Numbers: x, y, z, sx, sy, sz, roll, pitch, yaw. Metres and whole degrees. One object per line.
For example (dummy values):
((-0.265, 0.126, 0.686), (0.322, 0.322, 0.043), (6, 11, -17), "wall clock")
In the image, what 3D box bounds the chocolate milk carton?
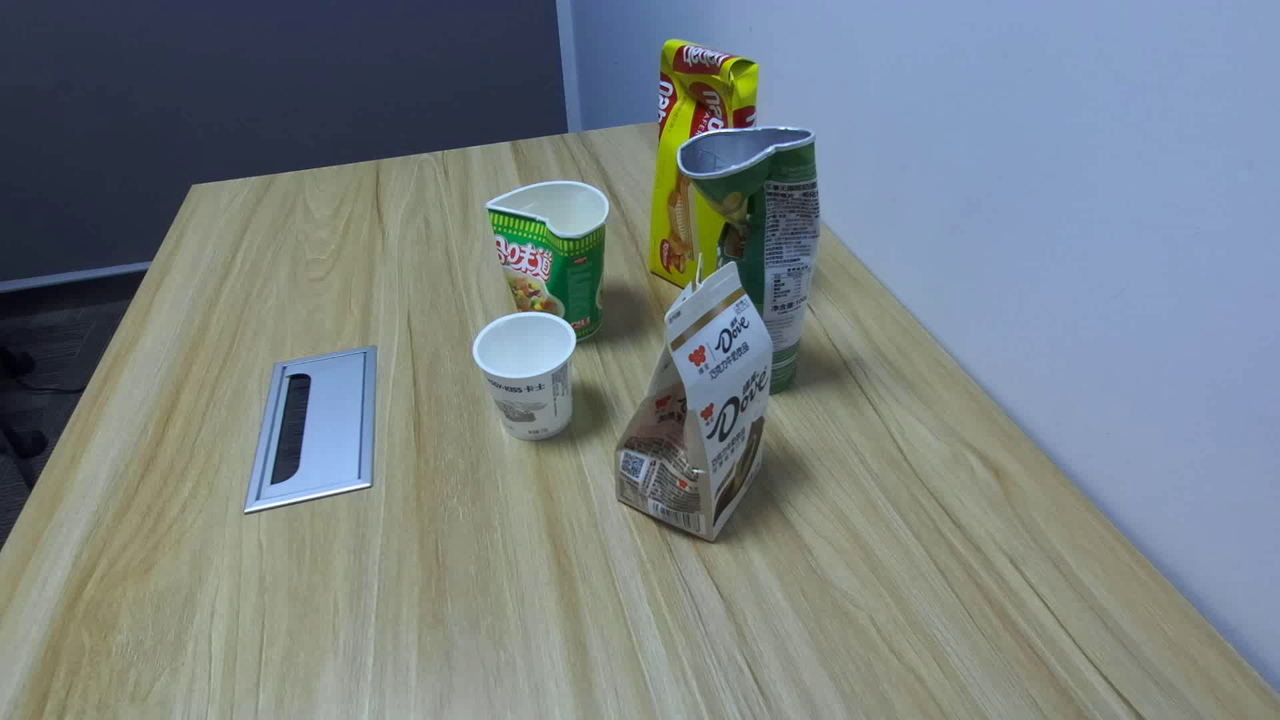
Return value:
((0.029, 0.023, 0.417), (0.073, 0.155, 0.084), (20, 45, 25), "chocolate milk carton")

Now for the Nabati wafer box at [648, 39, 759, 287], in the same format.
((0.051, -0.150, 0.587), (0.043, 0.205, 0.113), (-31, 45, -32), "Nabati wafer box")

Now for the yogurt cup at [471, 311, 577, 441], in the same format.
((-0.077, 0.015, 0.503), (0.072, 0.068, 0.072), (-1, 40, 1), "yogurt cup")

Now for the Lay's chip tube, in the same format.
((0.075, -0.064, 0.489), (0.071, 0.200, 0.078), (-30, 45, -16), "Lay's chip tube")

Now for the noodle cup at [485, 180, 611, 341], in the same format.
((-0.064, -0.076, 0.575), (0.087, 0.109, 0.093), (-22, 42, -22), "noodle cup")
